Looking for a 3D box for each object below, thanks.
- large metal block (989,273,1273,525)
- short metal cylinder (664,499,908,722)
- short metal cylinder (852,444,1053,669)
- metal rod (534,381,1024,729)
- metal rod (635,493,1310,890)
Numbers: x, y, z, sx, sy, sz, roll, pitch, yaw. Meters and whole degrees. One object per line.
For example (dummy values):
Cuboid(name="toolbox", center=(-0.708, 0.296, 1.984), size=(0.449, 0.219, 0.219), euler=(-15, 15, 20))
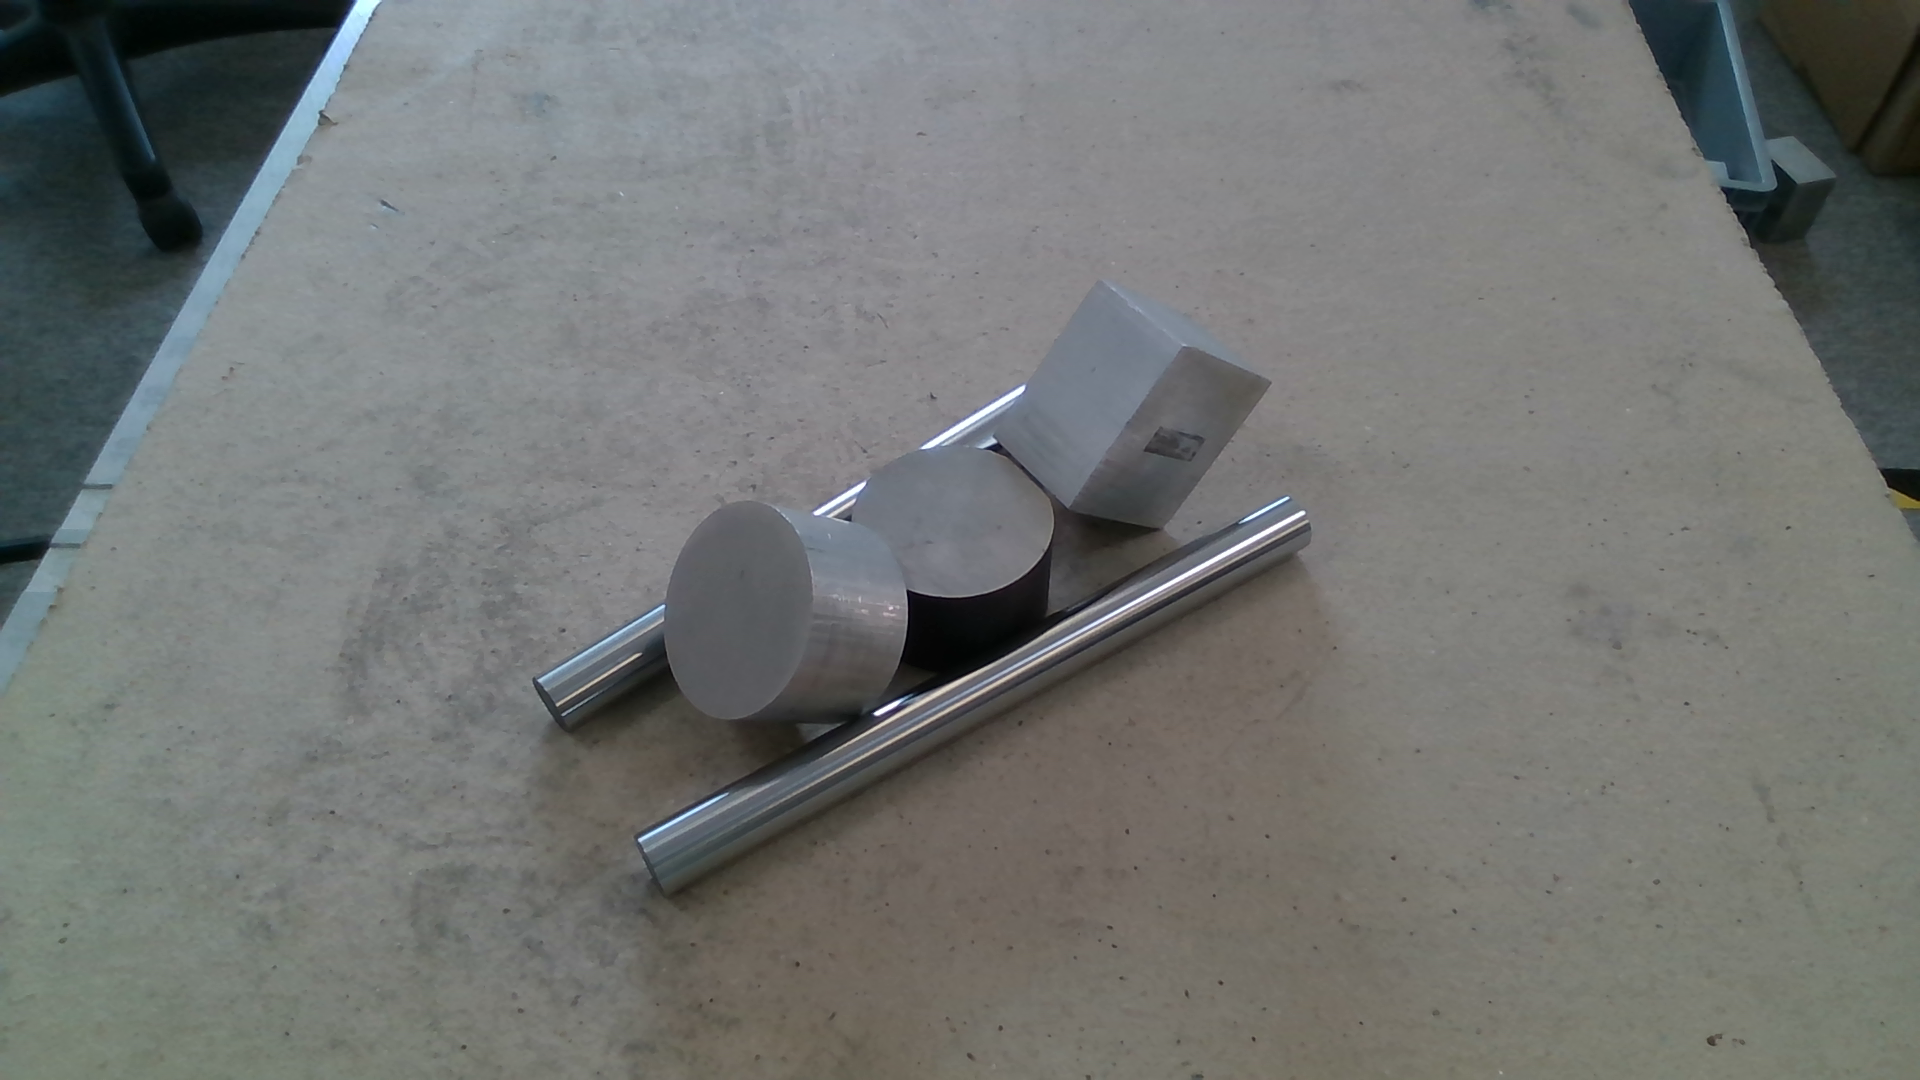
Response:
Cuboid(name="large metal block", center=(0.072, -0.056, 0.578), size=(0.080, 0.080, 0.050), euler=(8, 32, -53))
Cuboid(name="short metal cylinder", center=(-0.066, 0.028, 0.520), size=(0.050, 0.080, 0.080), euler=(12, 32, -50))
Cuboid(name="short metal cylinder", center=(-0.003, 0.007, 0.565), size=(0.080, 0.050, 0.080), euler=(0, 50, 0))
Cuboid(name="metal rod", center=(-0.044, -0.012, 0.597), size=(0.300, 0.025, 0.025), euler=(-33, 58, -24))
Cuboid(name="metal rod", center=(0.016, 0.053, 0.543), size=(0.300, 0.025, 0.025), euler=(-26, 55, -20))
